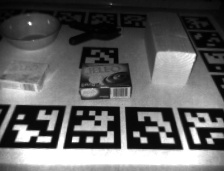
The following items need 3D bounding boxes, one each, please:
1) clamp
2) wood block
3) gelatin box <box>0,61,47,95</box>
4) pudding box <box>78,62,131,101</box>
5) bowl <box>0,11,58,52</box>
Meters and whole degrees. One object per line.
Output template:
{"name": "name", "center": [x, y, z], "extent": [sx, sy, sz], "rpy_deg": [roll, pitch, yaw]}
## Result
{"name": "clamp", "center": [-0.069, -0.165, 0.652], "extent": [0.166, 0.037, 0.121], "rpy_deg": [-6, 46, -12]}
{"name": "wood block", "center": [0.141, -0.110, 0.562], "extent": [0.090, 0.091, 0.205], "rpy_deg": [3, 46, -1]}
{"name": "gelatin box", "center": [-0.203, -0.019, 0.492], "extent": [0.089, 0.030, 0.073], "rpy_deg": [6, 47, 3]}
{"name": "pudding box", "center": [-0.017, -0.010, 0.492], "extent": [0.114, 0.039, 0.089], "rpy_deg": [-1, 50, -2]}
{"name": "bowl", "center": [-0.230, -0.144, 0.606], "extent": [0.162, 0.055, 0.161], "rpy_deg": [3, 48, -2]}
